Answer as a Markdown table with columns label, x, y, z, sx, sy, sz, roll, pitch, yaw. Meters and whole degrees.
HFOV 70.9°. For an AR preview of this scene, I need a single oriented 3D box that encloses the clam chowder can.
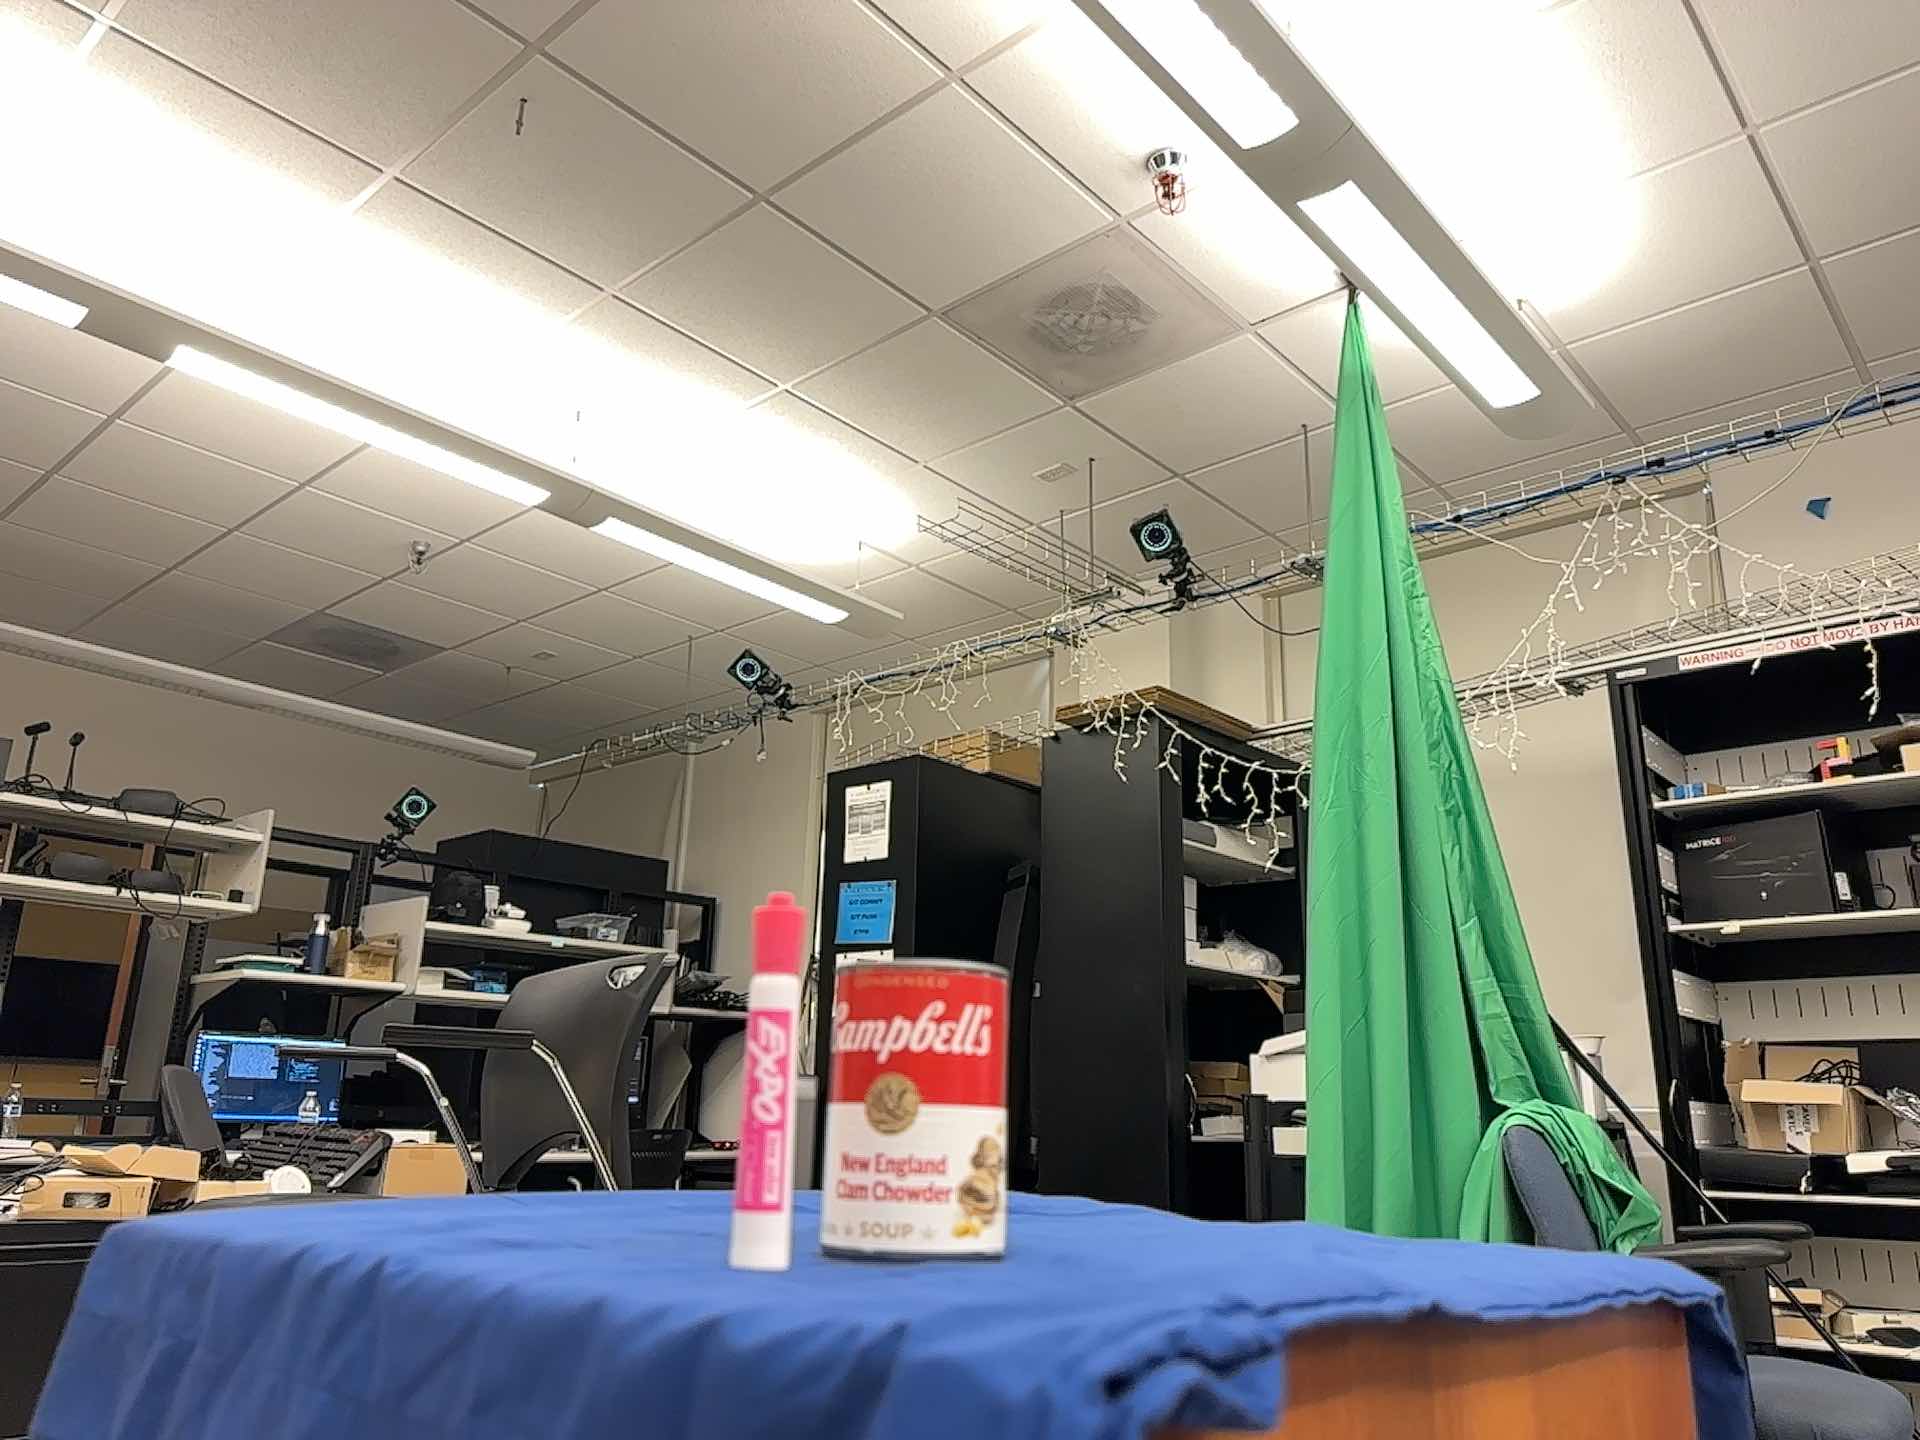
| label | x | y | z | sx | sy | sz | roll | pitch | yaw |
| --- | --- | --- | --- | --- | --- | --- | --- | --- | --- |
| clam chowder can | -0.017 | 0.142 | 0.501 | 0.068 | 0.102 | 0.068 | 1 | -14 | 0 |

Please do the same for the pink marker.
| label | x | y | z | sx | sy | sz | roll | pitch | yaw |
| --- | --- | --- | --- | --- | --- | --- | --- | --- | --- |
| pink marker | -0.065 | 0.119 | 0.455 | 0.020 | 0.121 | 0.020 | 1 | -14 | 0 |
